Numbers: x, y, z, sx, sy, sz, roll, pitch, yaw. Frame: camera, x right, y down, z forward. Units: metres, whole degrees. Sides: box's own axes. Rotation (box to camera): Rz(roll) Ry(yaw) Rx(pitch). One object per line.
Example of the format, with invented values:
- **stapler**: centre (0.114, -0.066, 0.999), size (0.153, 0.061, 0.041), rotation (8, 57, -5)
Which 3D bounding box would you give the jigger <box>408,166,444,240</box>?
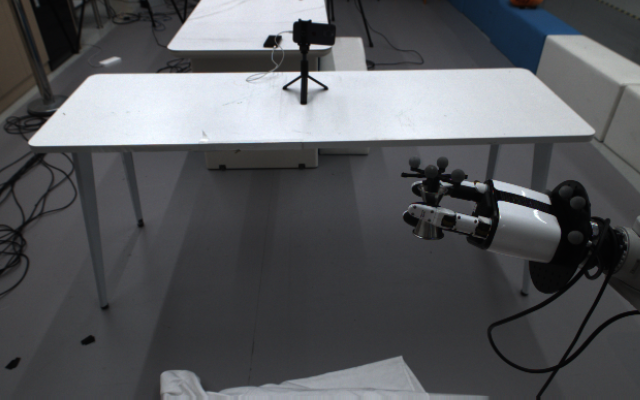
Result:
- **jigger**: centre (0.151, 0.014, 0.672), size (0.043, 0.071, 0.043), rotation (1, 20, 0)
